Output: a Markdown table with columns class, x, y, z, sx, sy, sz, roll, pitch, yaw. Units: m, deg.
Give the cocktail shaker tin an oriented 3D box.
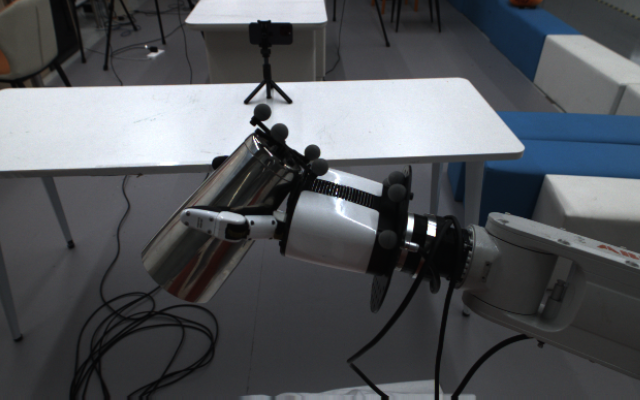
| class | x | y | z | sx | sy | sz | roll | pitch | yaw |
| --- | --- | --- | --- | --- | --- | --- | --- | --- | --- |
| cocktail shaker tin | -0.095 | 0.013 | 0.507 | 0.093 | 0.170 | 0.093 | 41 | 12 | -11 |
